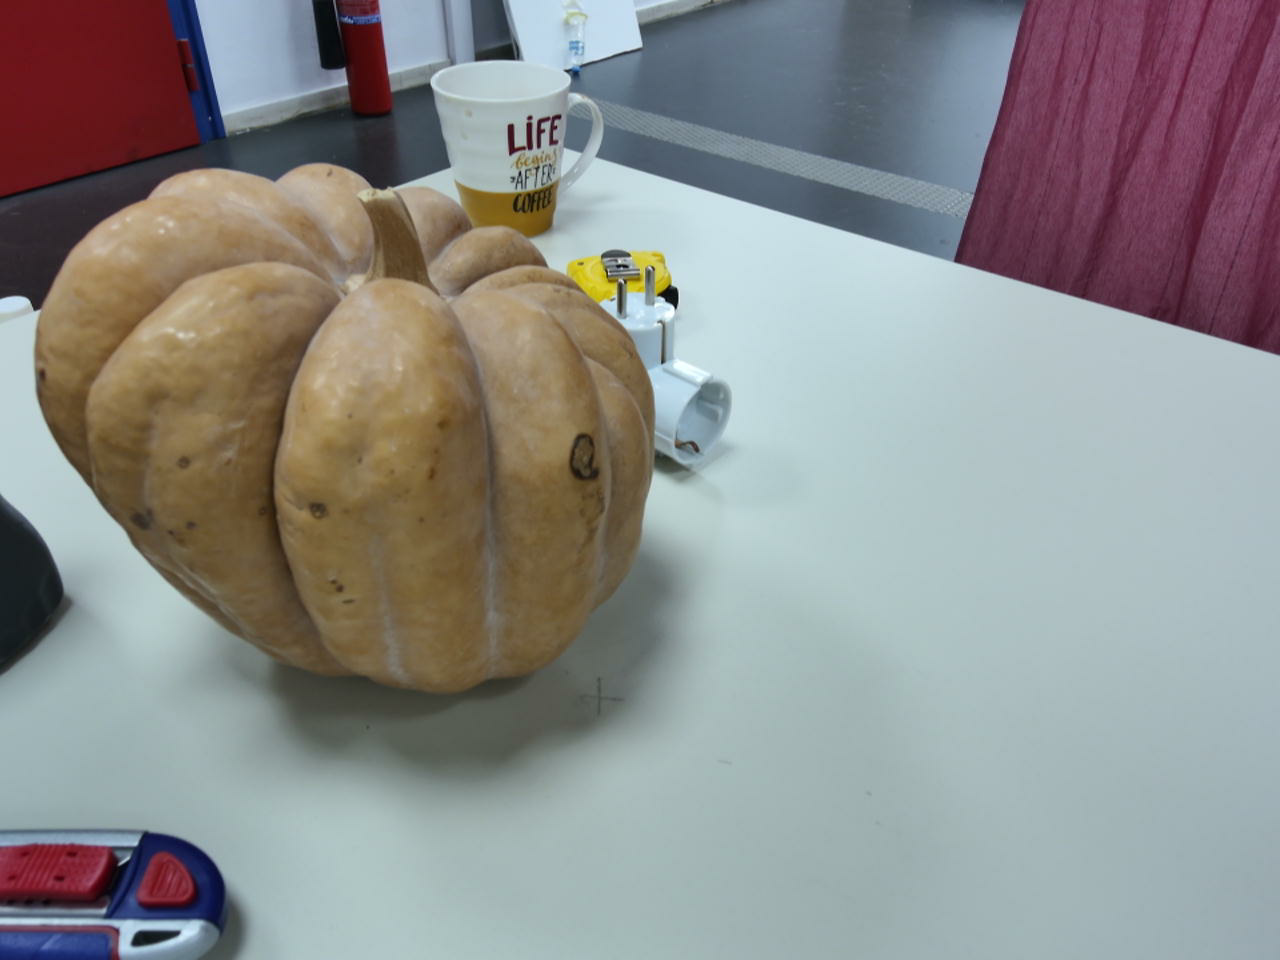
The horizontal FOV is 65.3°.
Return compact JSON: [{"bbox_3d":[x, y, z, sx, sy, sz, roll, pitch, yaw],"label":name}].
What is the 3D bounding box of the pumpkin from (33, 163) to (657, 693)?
[{"bbox_3d":[-0.091,-0.017,0.347,0.199,0.177,0.198,1,36,-1],"label":"pumpkin"}]
